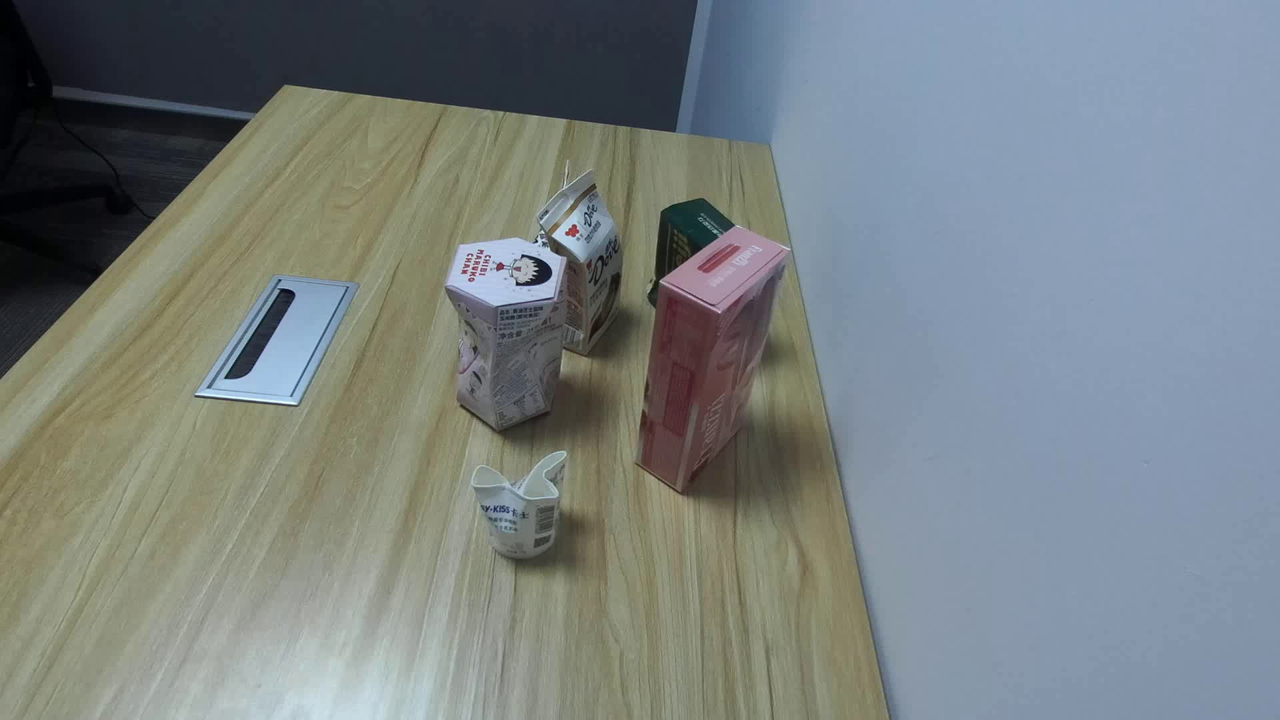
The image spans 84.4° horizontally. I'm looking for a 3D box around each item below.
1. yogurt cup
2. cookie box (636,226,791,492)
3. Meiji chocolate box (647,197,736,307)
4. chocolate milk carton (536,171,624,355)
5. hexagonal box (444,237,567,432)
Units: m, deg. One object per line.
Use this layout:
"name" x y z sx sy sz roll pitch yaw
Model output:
"yogurt cup" -0.081 0.098 0.489 0.055 0.072 0.055 13 47 5
"cookie box" 0.050 0.004 0.523 0.048 0.185 0.096 30 48 22
"Meiji chocolate box" 0.064 -0.075 0.655 0.059 0.116 0.122 -21 51 -26
"chocolate milk carton" -0.060 -0.092 0.627 0.073 0.155 0.076 20 45 13
"hexagonal box" -0.105 -0.022 0.564 0.093 0.134 0.088 -21 51 -27
